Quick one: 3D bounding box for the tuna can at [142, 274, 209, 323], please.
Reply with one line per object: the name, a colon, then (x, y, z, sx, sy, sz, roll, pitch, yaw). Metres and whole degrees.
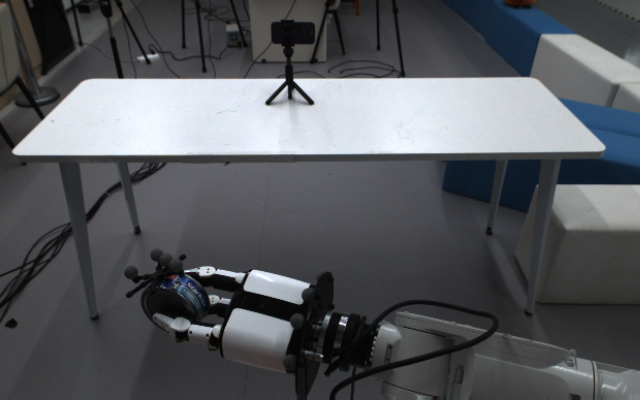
tuna can: (-0.189, 0.144, 0.641, 0.085, 0.085, 0.034, 11, 35, 13)
